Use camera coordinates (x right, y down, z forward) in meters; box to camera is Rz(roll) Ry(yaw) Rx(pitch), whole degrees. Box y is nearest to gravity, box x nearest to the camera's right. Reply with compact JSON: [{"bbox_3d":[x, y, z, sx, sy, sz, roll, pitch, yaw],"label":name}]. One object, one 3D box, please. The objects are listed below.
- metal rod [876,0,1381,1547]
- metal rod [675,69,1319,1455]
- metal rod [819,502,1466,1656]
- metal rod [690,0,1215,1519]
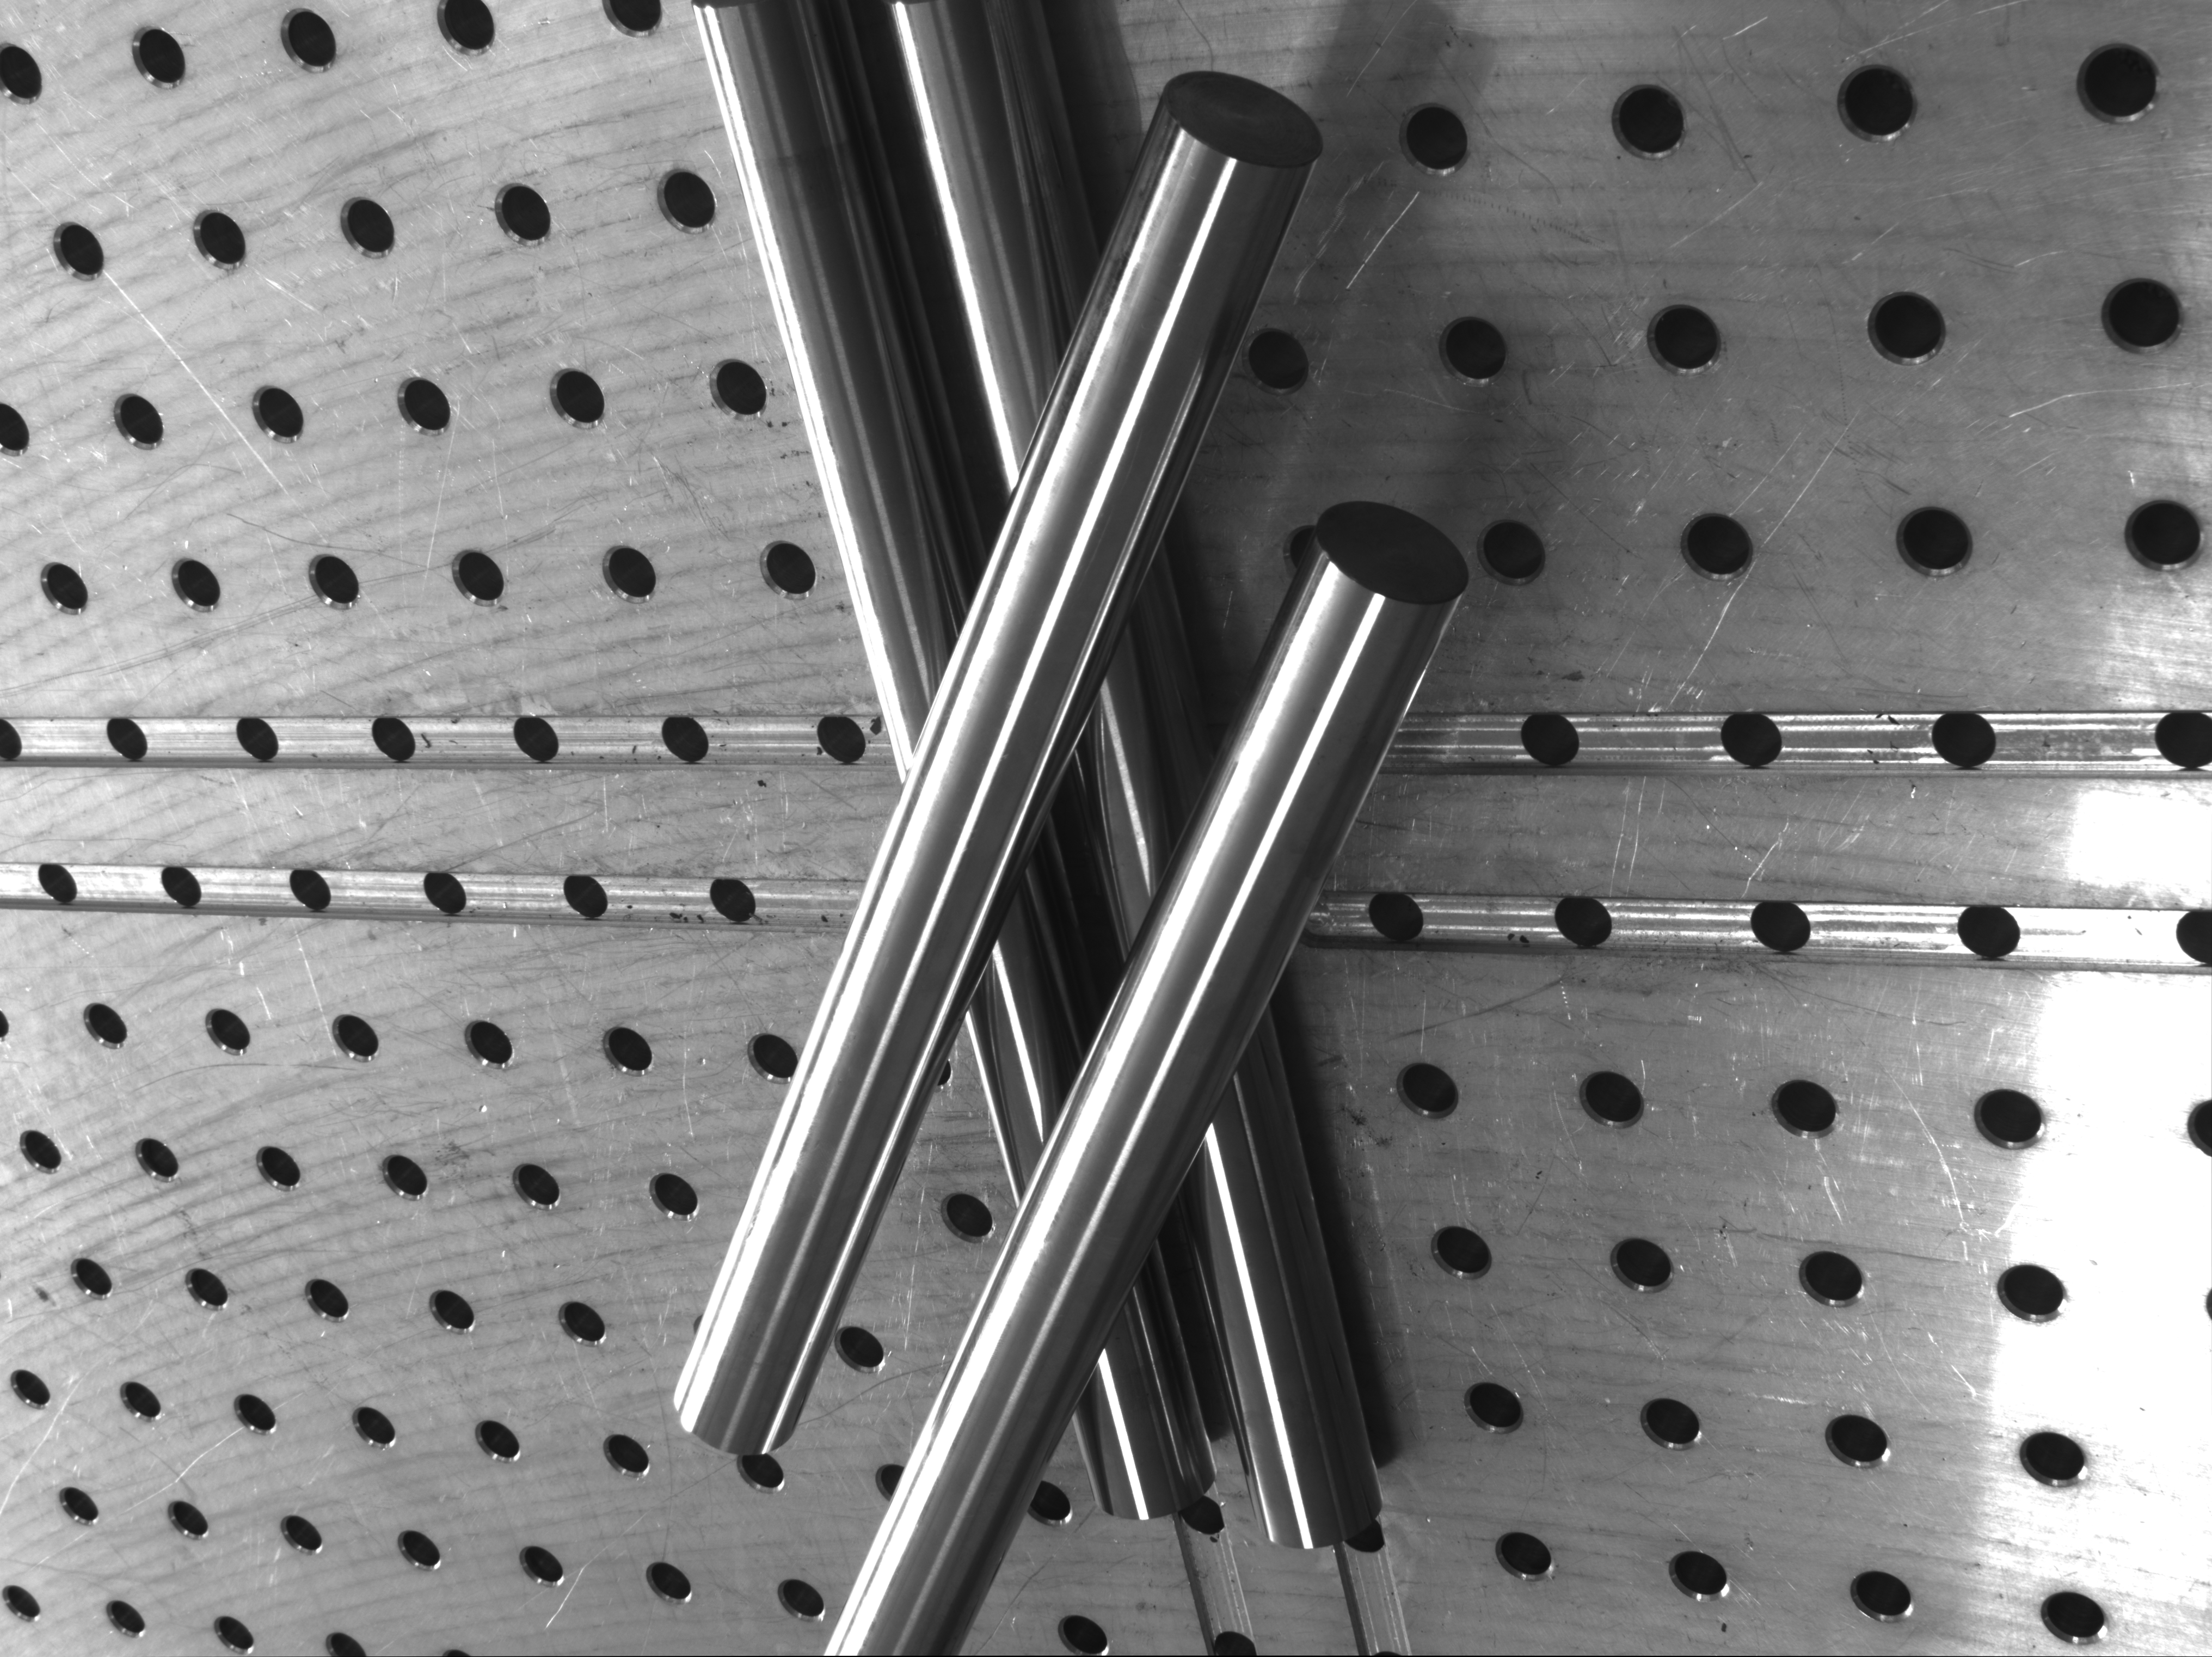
[{"bbox_3d":[0.008,-0.002,0.641,0.025,0.025,0.300,1,119,28],"label":"metal rod"},{"bbox_3d":[-0.027,0.004,0.632,0.025,0.025,0.300,30,128,9],"label":"metal rod"},{"bbox_3d":[-0.002,0.067,0.656,0.025,0.025,0.300,30,128,9],"label":"metal rod"},{"bbox_3d":[-0.023,-0.004,0.657,0.025,0.025,0.300,1,119,28],"label":"metal rod"}]
